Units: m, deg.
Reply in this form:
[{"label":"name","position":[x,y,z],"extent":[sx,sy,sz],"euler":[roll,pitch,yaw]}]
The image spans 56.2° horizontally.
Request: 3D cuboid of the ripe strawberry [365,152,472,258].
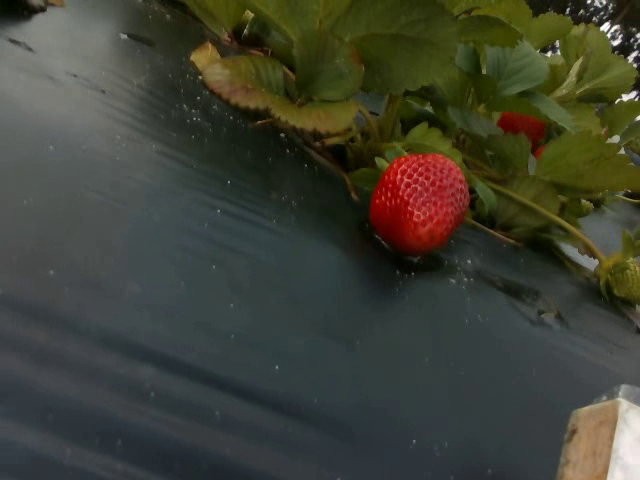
[{"label":"ripe strawberry","position":[0.034,-0.011,0.191],"extent":[0.036,0.040,0.046],"euler":[8,17,2]}]
